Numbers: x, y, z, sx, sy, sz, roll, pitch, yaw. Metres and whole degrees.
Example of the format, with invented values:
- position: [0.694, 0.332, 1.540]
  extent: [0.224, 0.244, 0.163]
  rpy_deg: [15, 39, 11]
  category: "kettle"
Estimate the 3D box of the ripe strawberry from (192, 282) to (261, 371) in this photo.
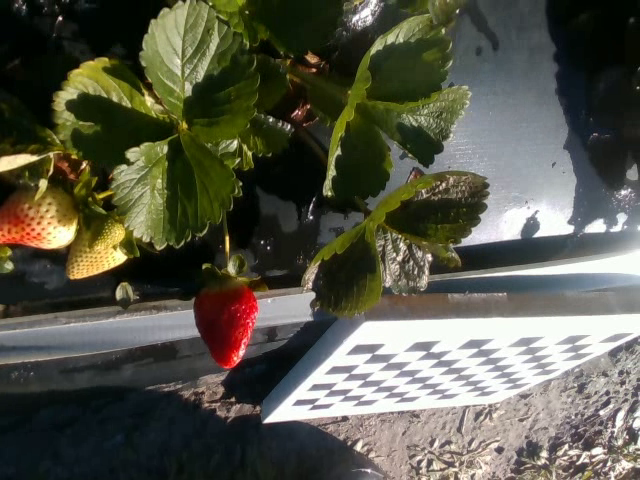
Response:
- position: [-0.046, 0.041, 0.299]
  extent: [0.036, 0.046, 0.038]
  rpy_deg: [4, -16, -18]
  category: "ripe strawberry"
